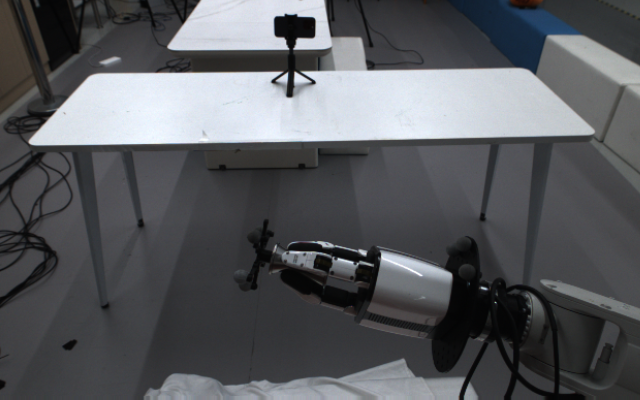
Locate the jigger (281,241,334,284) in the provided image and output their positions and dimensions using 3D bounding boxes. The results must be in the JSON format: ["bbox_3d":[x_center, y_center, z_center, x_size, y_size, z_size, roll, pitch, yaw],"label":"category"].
[{"bbox_3d":[-0.016,0.073,0.578,0.071,0.043,0.043,13,36,4],"label":"jigger"}]
